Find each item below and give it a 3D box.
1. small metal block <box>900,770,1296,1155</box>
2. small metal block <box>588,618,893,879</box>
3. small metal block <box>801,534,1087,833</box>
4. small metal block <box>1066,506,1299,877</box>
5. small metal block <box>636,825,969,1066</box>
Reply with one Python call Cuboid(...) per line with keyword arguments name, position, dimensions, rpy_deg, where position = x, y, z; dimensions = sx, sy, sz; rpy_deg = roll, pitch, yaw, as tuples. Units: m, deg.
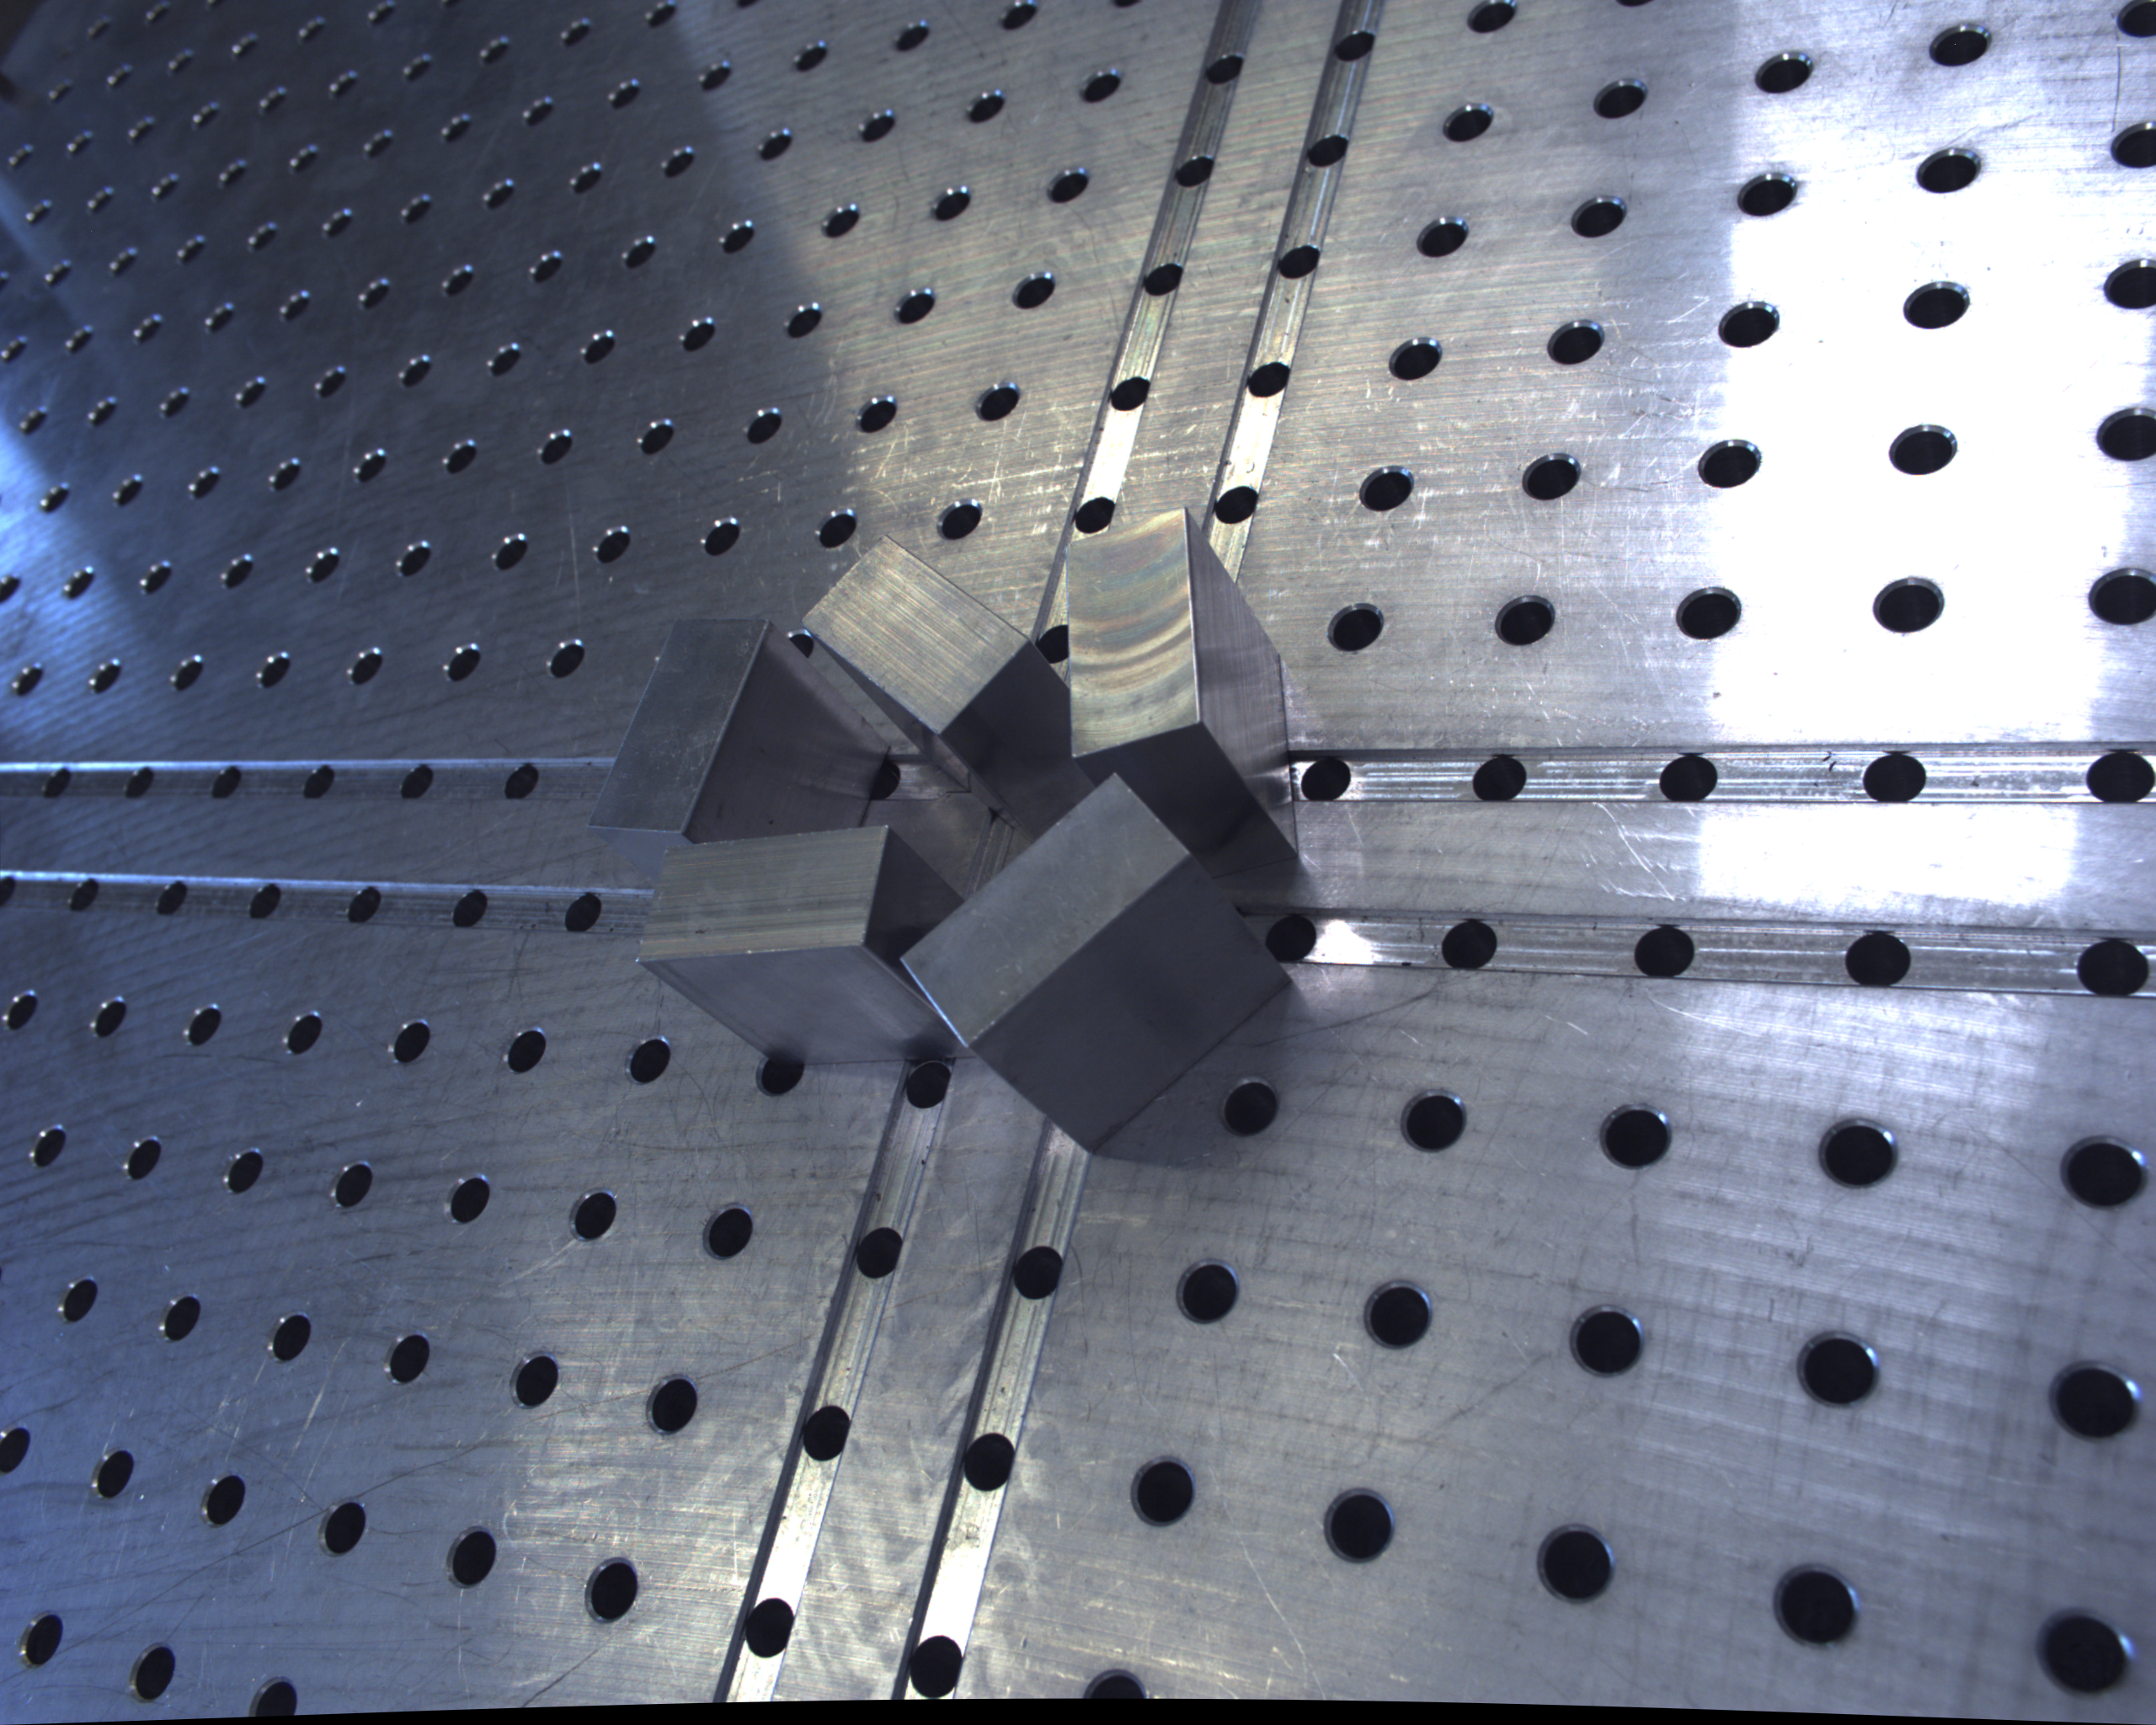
Cuboid(name="small metal block", position=(0.005, 0.019, 0.378), dimensions=(0.050, 0.050, 0.025), rpy_deg=(-41, 50, 1))
Cuboid(name="small metal block", position=(-0.069, -0.017, 0.440), dimensions=(0.025, 0.050, 0.050), rpy_deg=(3, 64, 30))
Cuboid(name="small metal block", position=(-0.021, -0.033, 0.425), dimensions=(0.025, 0.050, 0.050), rpy_deg=(-48, 52, -4))
Cuboid(name="small metal block", position=(0.020, -0.031, 0.401), dimensions=(0.025, 0.050, 0.050), rpy_deg=(-15, 55, 20))
Cuboid(name="small metal block", position=(-0.048, 0.018, 0.407), dimensions=(0.050, 0.050, 0.025), rpy_deg=(-5, 60, 26))
